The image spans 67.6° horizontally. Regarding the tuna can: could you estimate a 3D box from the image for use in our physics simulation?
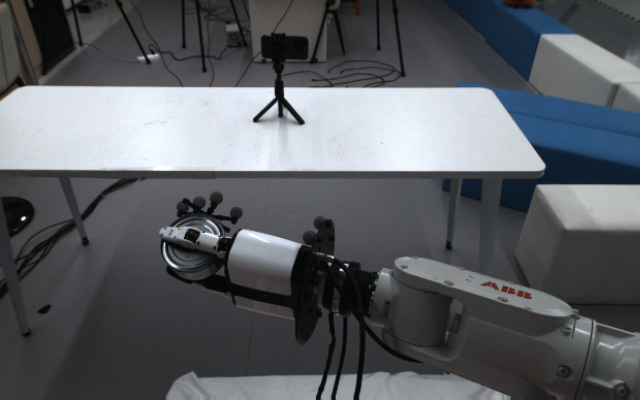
[{"bbox_3d":[-0.165,0.061,0.645,0.085,0.034,0.085,-3,57,4],"label":"tuna can"}]
